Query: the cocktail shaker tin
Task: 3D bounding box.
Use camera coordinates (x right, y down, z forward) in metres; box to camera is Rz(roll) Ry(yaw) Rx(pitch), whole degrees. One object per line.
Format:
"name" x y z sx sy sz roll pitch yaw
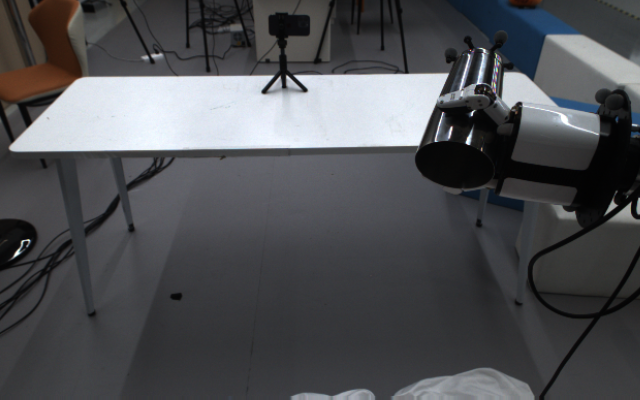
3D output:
"cocktail shaker tin" 0.184 -0.109 0.607 0.093 0.093 0.170 13 60 16
